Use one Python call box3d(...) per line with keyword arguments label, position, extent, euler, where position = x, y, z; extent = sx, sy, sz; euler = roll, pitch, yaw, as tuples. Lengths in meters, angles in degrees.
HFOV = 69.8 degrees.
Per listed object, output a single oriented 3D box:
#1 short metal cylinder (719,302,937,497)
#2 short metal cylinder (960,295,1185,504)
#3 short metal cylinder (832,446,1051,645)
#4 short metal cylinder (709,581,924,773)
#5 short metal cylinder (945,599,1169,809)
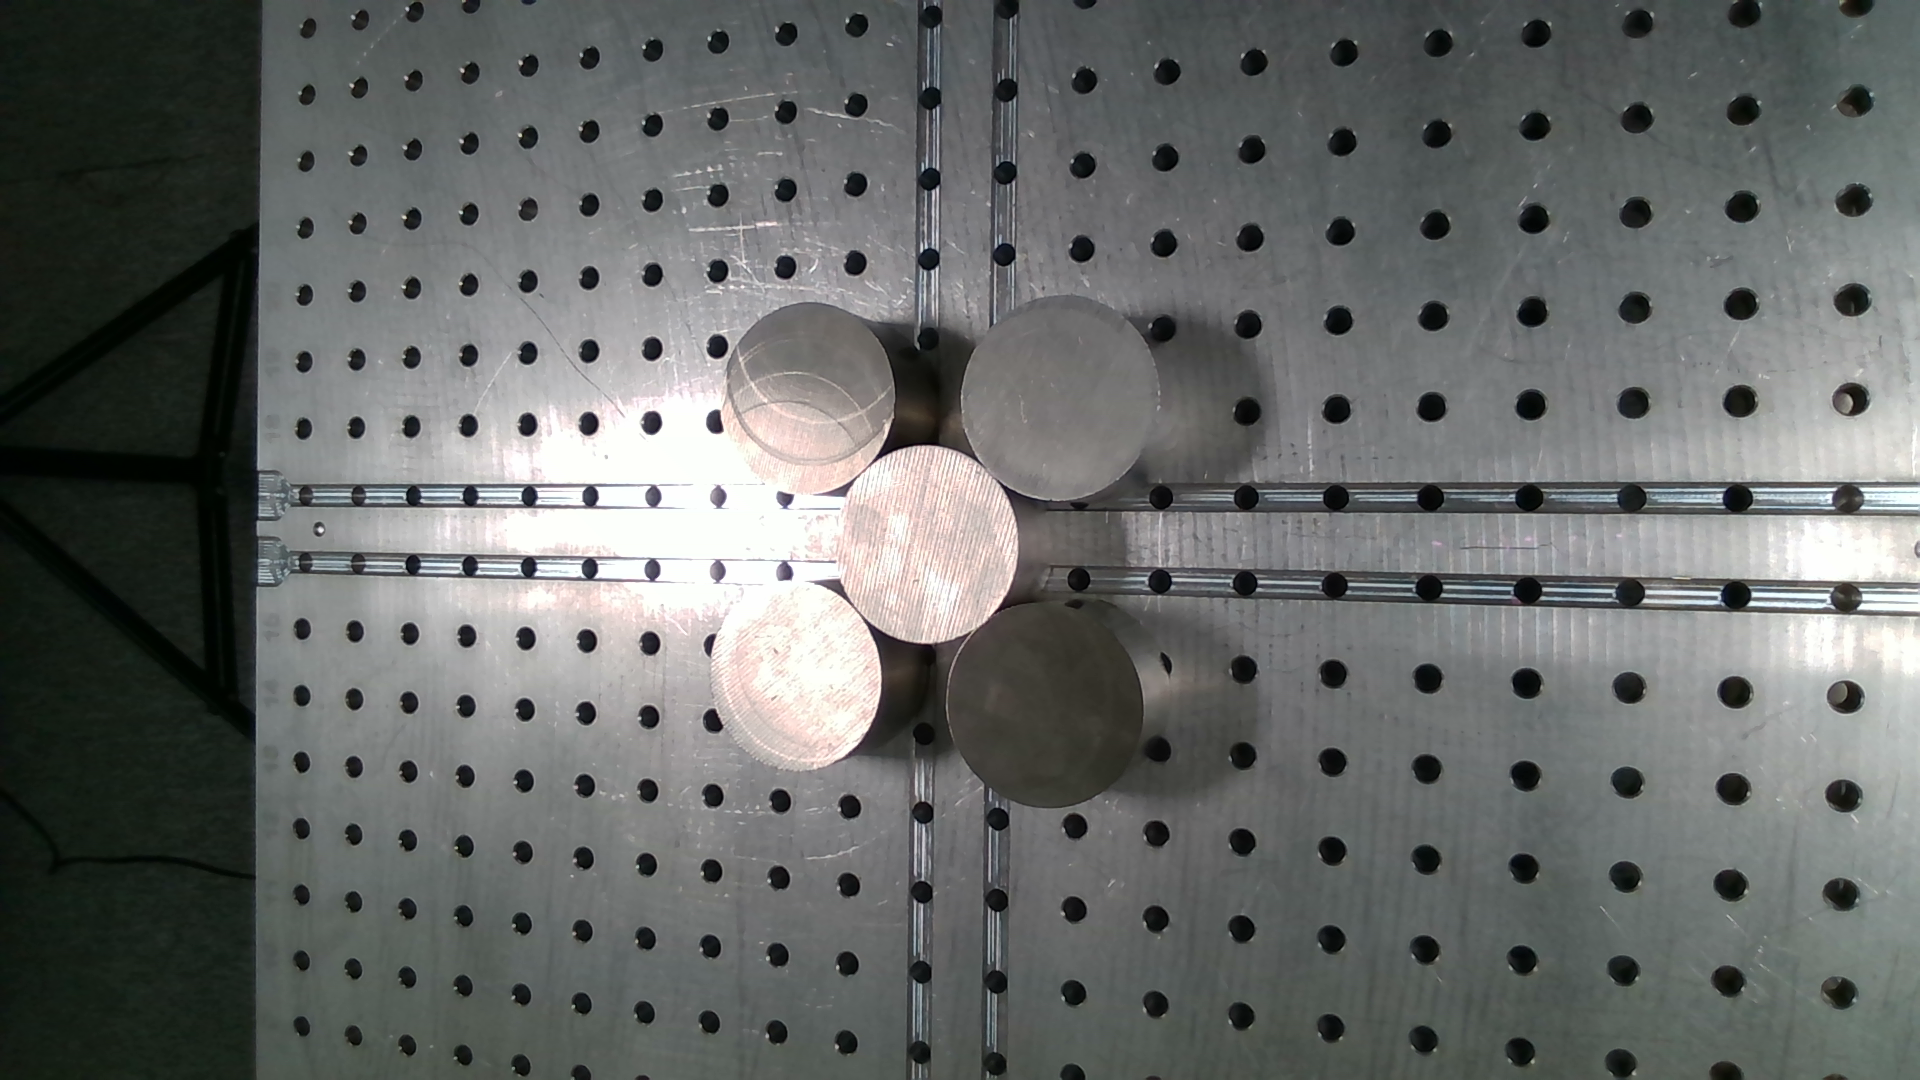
box3d(label="short metal cylinder", position=(-0.056, -0.058, 0.594), extent=(0.080, 0.050, 0.080), euler=(0, 90, 20))
box3d(label="short metal cylinder", position=(0.046, -0.055, 0.556), extent=(0.080, 0.050, 0.080), euler=(0, 90, 20))
box3d(label="short metal cylinder", position=(-0.006, 0.002, 0.576), extent=(0.080, 0.050, 0.080), euler=(0, 90, 20))
box3d(label="short metal cylinder", position=(-0.061, 0.057, 0.597), extent=(0.080, 0.050, 0.080), euler=(0, 90, 20))
box3d(label="short metal cylinder", position=(0.040, 0.064, 0.558), extent=(0.080, 0.050, 0.080), euler=(0, 90, 20))
